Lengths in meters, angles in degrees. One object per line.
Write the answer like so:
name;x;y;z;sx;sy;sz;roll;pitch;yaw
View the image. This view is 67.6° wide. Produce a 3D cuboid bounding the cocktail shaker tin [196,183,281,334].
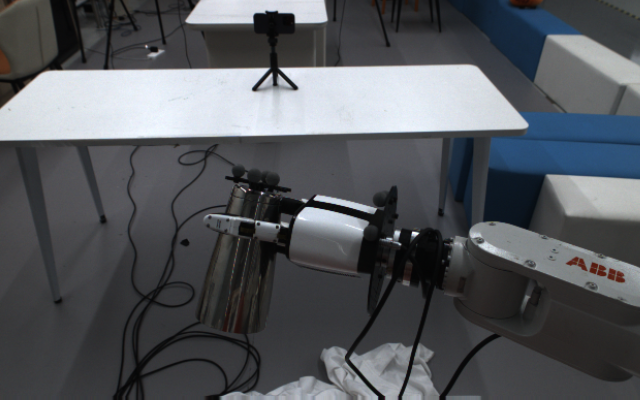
cocktail shaker tin;-0.094;0.069;0.618;0.093;0.170;0.093;12;3;-1
